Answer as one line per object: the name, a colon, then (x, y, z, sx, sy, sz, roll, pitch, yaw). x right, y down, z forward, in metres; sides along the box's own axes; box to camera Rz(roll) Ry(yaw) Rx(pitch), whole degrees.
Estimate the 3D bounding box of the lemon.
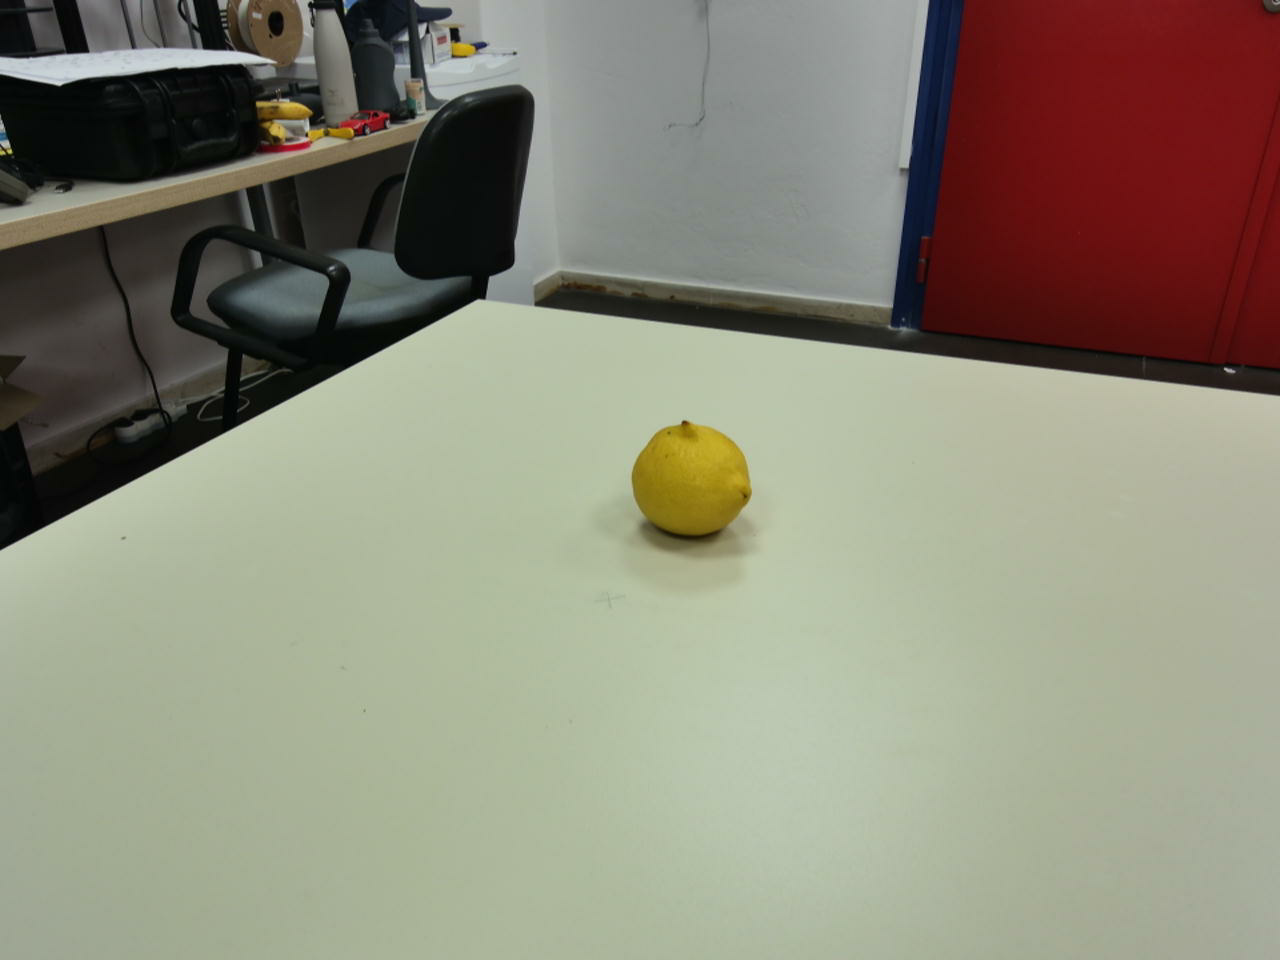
lemon: (0.031, -0.003, 0.604, 0.070, 0.071, 0.071, -3, 26, -9)
